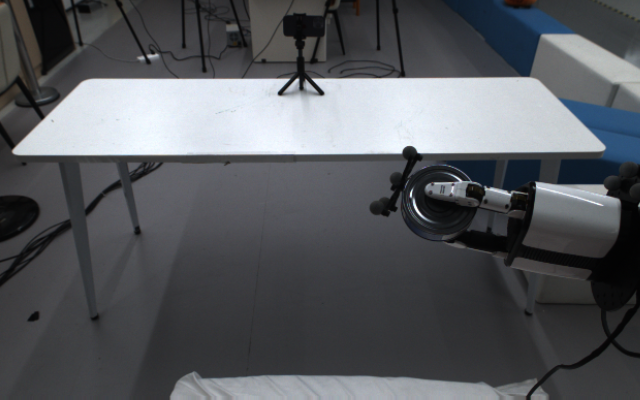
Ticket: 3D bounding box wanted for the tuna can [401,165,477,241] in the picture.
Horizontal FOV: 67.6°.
[{"bbox_3d":[0.140,0.001,0.560,0.085,0.034,0.085,-2,71,5],"label":"tuna can"}]
